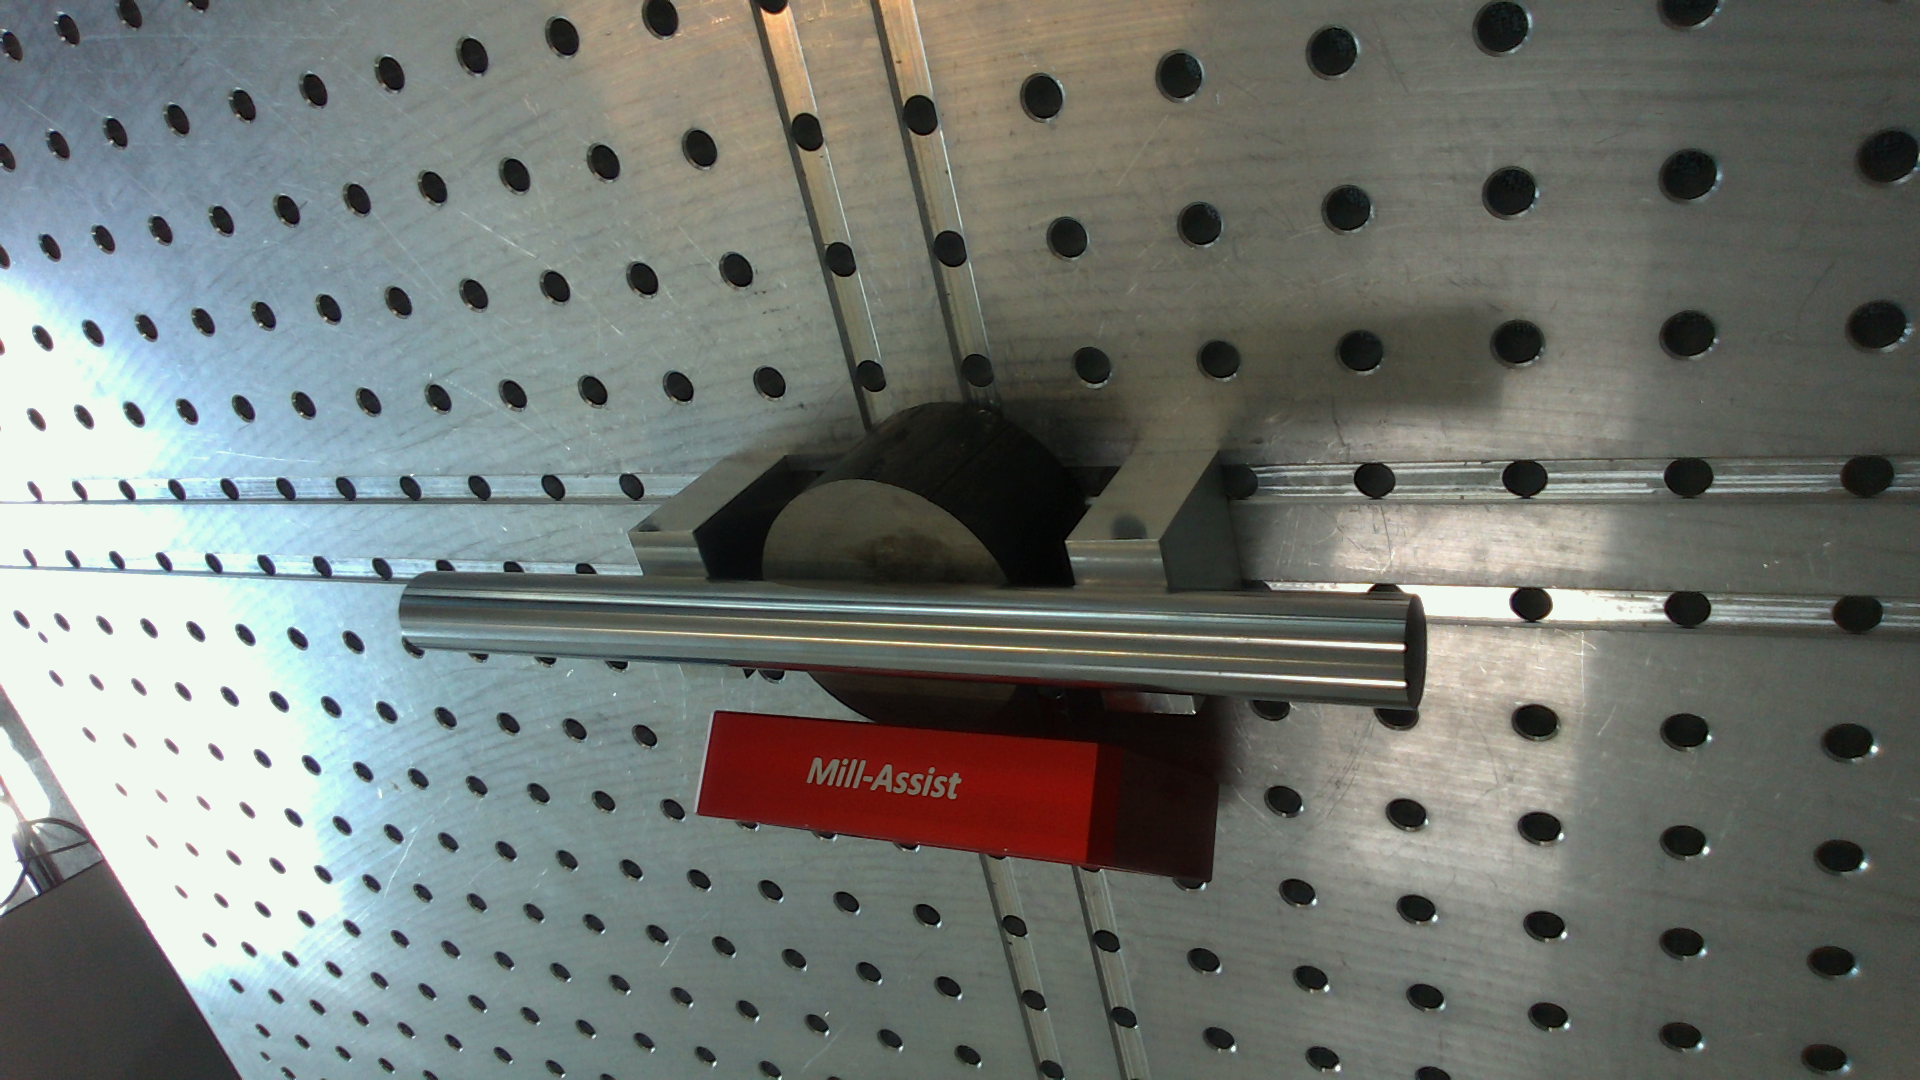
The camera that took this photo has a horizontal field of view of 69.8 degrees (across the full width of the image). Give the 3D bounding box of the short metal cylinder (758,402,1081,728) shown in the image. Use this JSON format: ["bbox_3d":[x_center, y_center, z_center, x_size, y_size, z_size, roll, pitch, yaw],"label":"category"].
[{"bbox_3d":[-0.009,0.008,0.389,0.080,0.050,0.080,13,124,21],"label":"short metal cylinder"}]

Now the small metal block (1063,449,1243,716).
[{"bbox_3d":[0.053,0.010,0.358,0.025,0.050,0.050,-1,118,29],"label":"small metal block"}]

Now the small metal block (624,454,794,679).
[{"bbox_3d":[-0.070,0.007,0.422,0.025,0.050,0.050,-1,118,29],"label":"small metal block"}]

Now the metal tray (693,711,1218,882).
[{"bbox_3d":[0.000,0.076,0.404,0.130,0.090,0.030,0,75,28],"label":"metal tray"}]

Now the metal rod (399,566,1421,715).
[{"bbox_3d":[-0.035,0.023,0.364,0.299,0.025,0.025,1,119,28],"label":"metal rod"}]
